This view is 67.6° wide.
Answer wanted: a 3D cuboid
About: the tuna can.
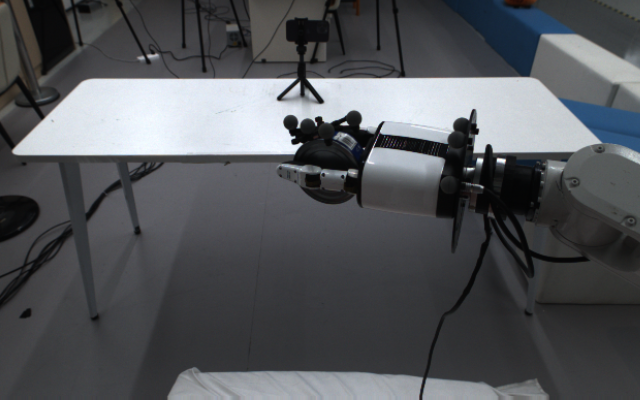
[{"bbox_3d":[0.016,-0.035,0.577,0.085,0.085,0.034,14,34,17],"label":"tuna can"}]
